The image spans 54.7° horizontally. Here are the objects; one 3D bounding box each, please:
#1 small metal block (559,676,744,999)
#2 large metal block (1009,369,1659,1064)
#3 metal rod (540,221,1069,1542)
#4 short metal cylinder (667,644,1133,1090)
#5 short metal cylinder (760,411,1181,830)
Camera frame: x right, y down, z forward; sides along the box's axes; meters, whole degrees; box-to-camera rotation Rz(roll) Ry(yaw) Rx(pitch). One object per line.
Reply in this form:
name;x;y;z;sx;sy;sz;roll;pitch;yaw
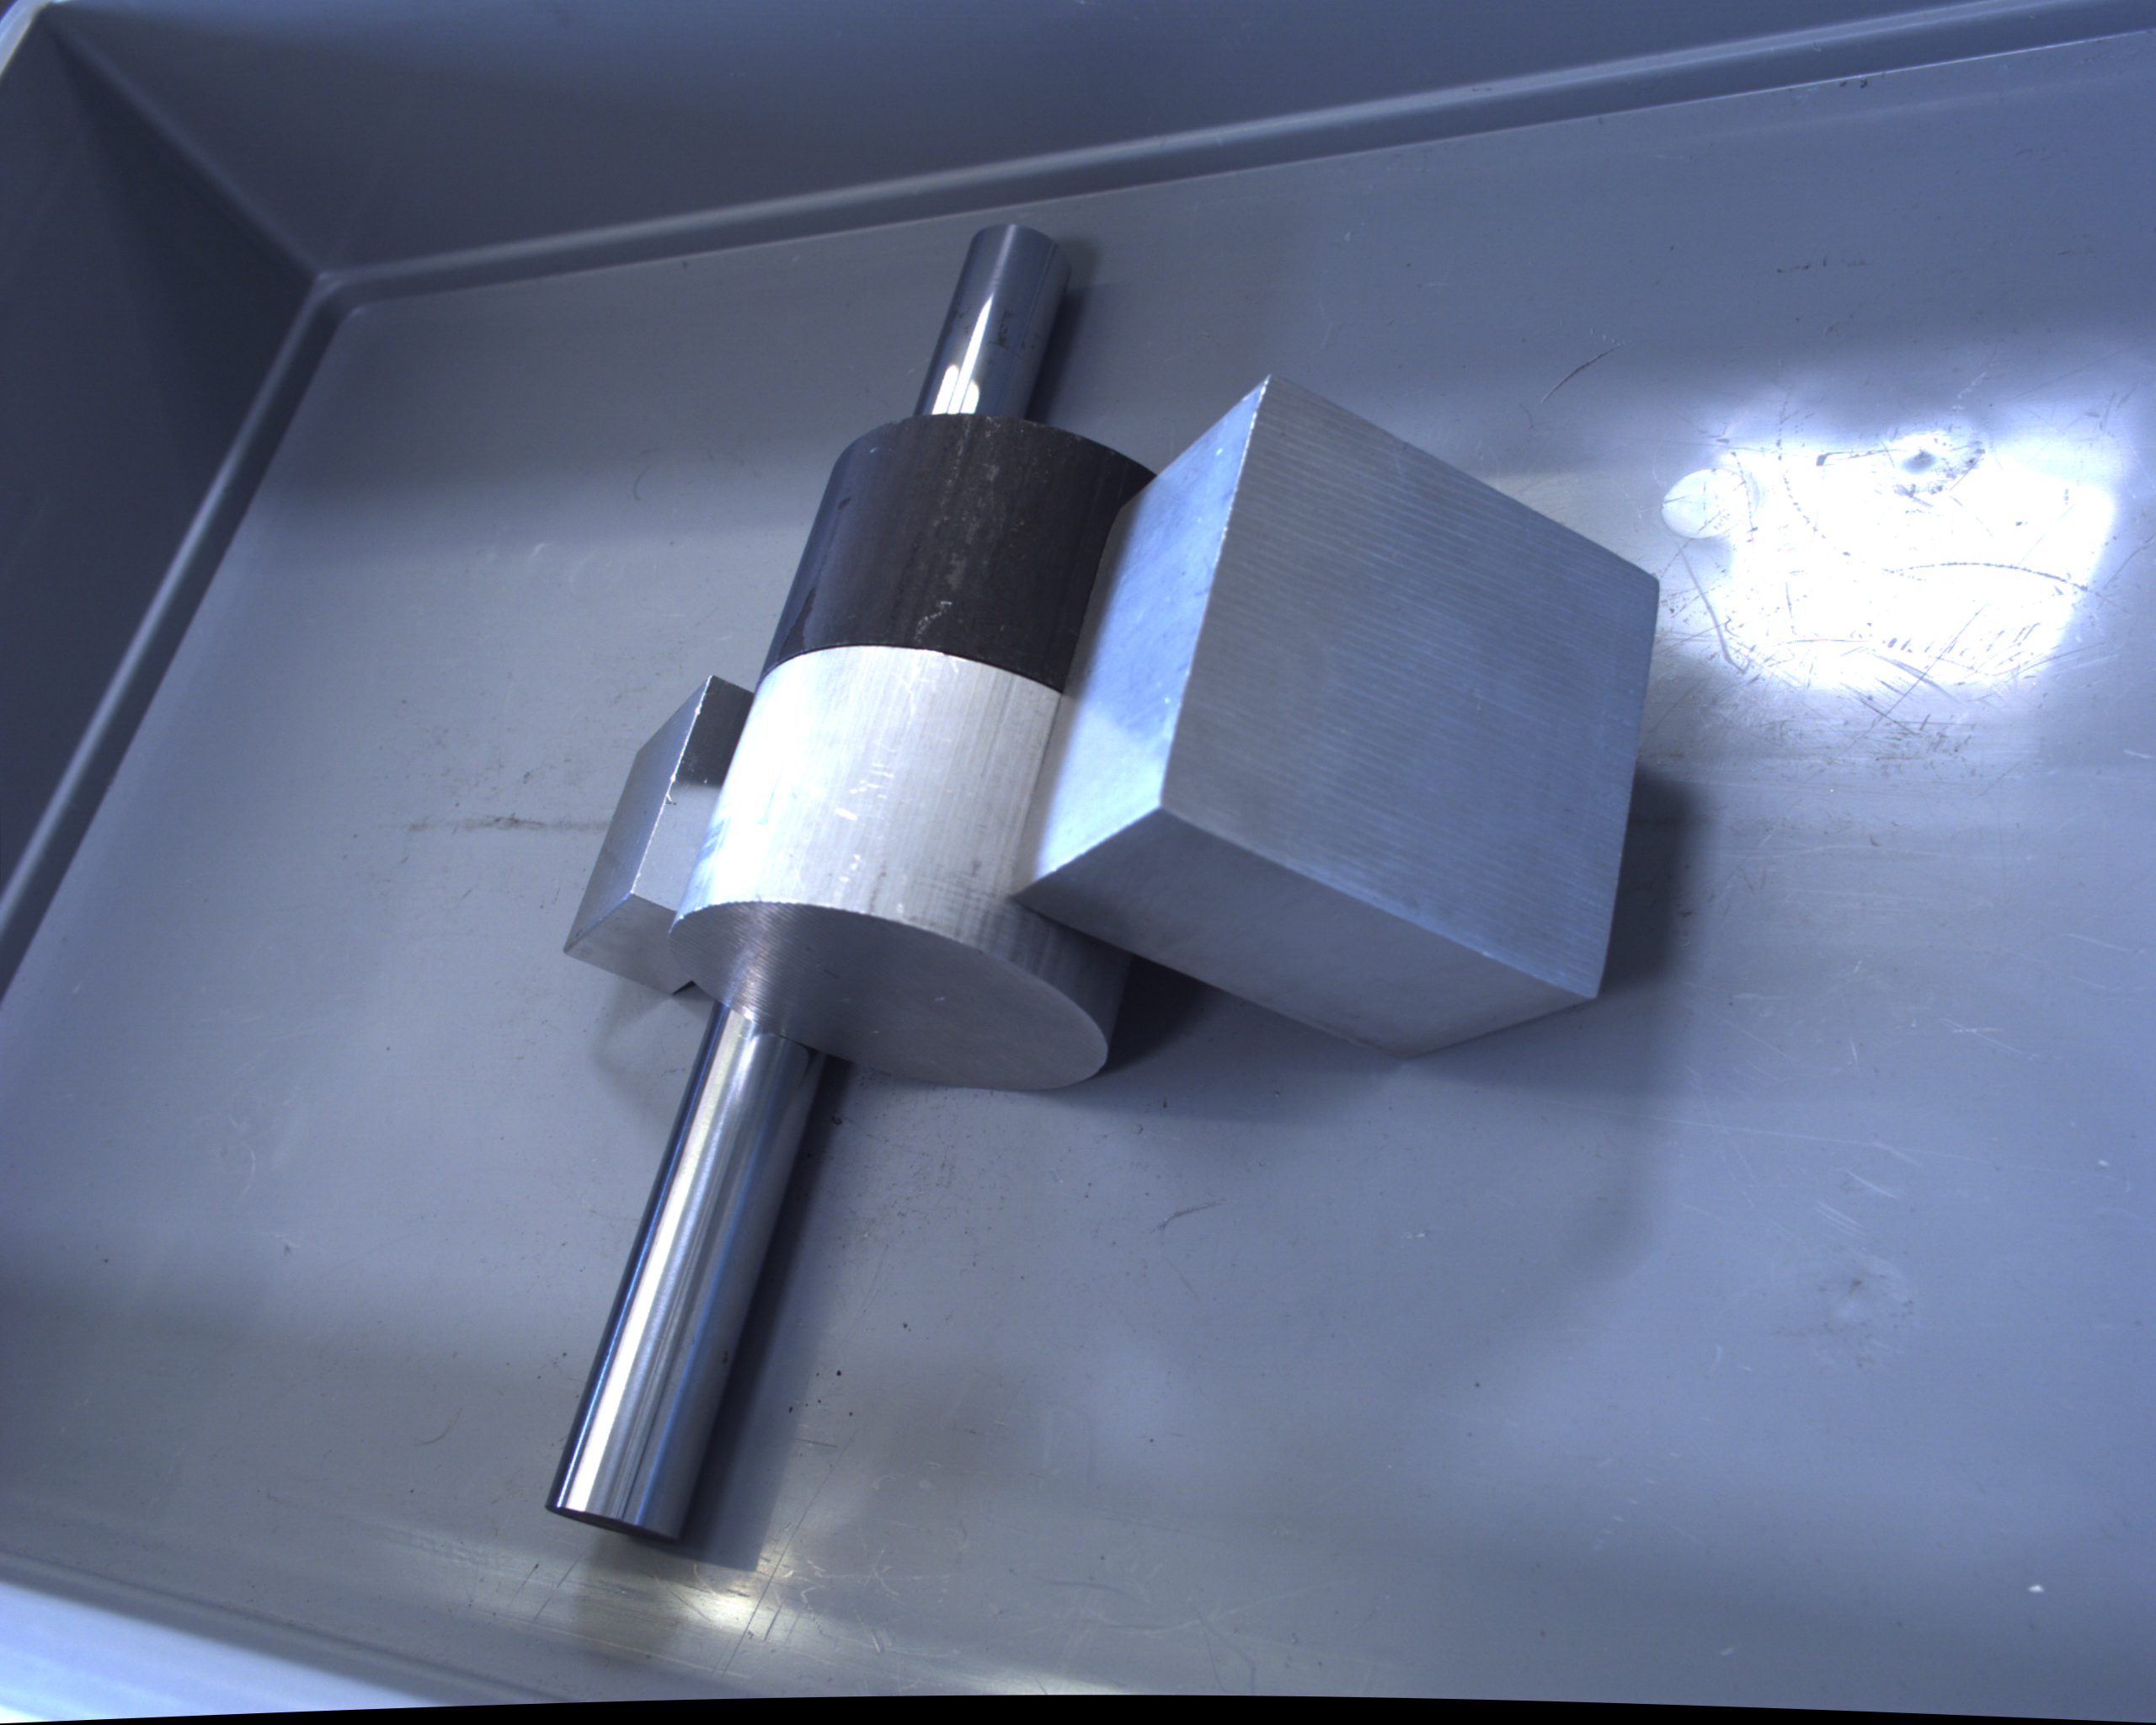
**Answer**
small metal block;-0.080;-0.004;0.434;0.050;0.025;0.050;-29;41;56
large metal block;0.044;-0.021;0.349;0.050;0.080;0.080;-32;39;59
metal rod;-0.049;-0.013;0.436;0.025;0.025;0.300;1;62;28
short metal cylinder;-0.028;0.003;0.380;0.080;0.080;0.050;1;62;28
short metal cylinder;-0.016;-0.042;0.402;0.080;0.080;0.050;1;62;28
